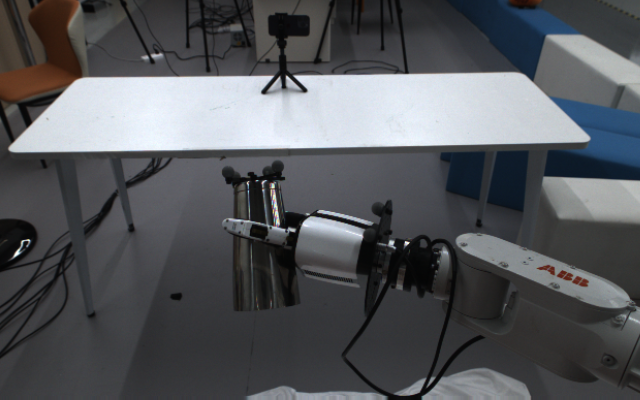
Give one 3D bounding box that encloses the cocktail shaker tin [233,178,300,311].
[{"bbox_3d":[-0.081,0.063,0.672,0.093,0.170,0.093,-6,-7,-1],"label":"cocktail shaker tin"}]
